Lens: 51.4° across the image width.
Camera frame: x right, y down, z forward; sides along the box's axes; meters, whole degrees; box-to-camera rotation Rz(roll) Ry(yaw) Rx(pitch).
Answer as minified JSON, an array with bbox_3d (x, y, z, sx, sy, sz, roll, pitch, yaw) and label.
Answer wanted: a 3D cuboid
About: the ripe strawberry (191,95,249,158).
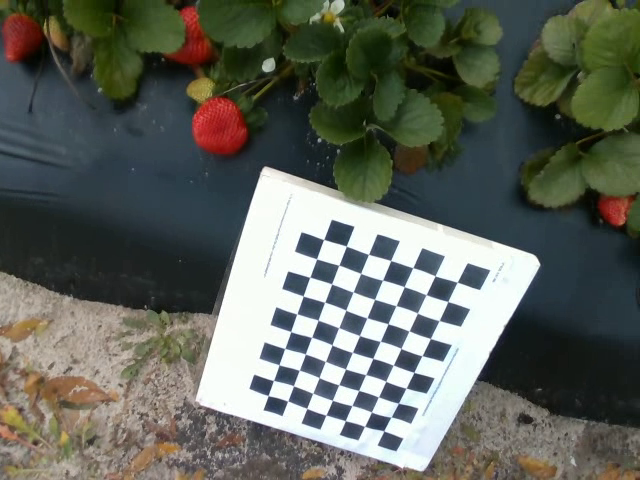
[{"bbox_3d":[-0.100,-0.103,0.630,0.057,0.056,0.065,-10,28,30],"label":"ripe strawberry"}]

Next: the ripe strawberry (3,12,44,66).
[{"bbox_3d":[-0.282,-0.183,0.622,0.043,0.052,0.041,3,-19,9],"label":"ripe strawberry"}]
